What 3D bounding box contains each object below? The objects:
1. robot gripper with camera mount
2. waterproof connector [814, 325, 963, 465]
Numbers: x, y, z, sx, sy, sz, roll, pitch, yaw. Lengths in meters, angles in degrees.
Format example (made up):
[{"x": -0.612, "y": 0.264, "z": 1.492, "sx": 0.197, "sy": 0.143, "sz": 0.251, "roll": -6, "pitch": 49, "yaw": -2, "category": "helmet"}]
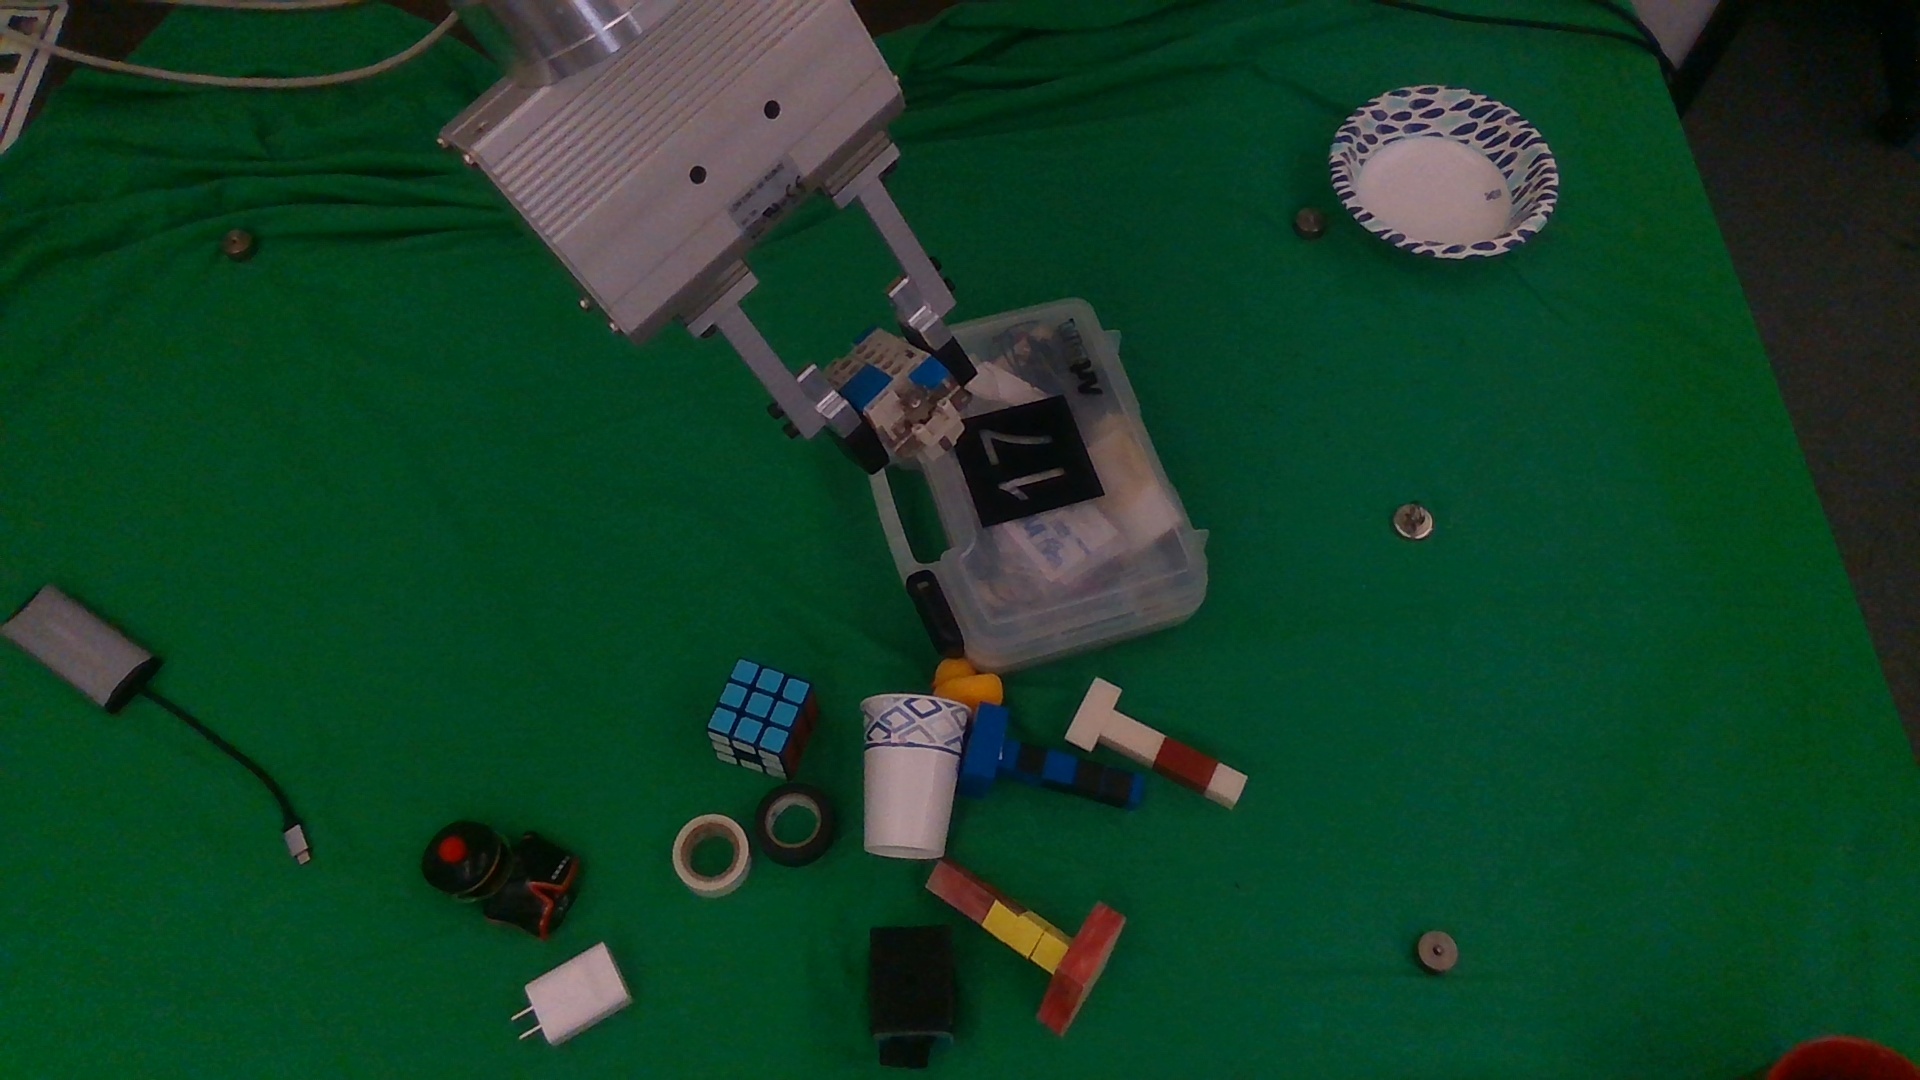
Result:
[{"x": -0.101, "y": -0.113, "z": 0.514, "sx": 0.119, "sy": 0.158, "sz": 0.194, "roll": -41, "pitch": 39, "yaw": -17, "category": "robot gripper with camera mount"}, {"x": -0.026, "y": -0.052, "z": 0.506, "sx": 0.035, "sy": 0.037, "sz": 0.065, "roll": -36, "pitch": 36, "yaw": -8, "category": "waterproof connector"}]
